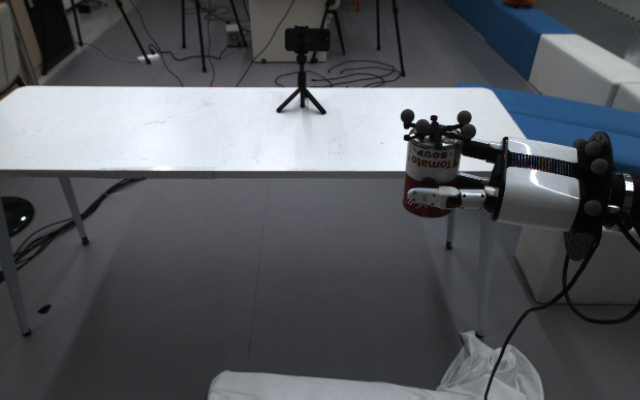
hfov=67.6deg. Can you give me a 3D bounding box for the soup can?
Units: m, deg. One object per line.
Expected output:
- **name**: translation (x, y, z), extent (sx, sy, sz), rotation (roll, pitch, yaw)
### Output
- **soup can**: translation (0.145, -0.040, 0.623), extent (0.067, 0.101, 0.067), rotation (-2, 34, 1)
